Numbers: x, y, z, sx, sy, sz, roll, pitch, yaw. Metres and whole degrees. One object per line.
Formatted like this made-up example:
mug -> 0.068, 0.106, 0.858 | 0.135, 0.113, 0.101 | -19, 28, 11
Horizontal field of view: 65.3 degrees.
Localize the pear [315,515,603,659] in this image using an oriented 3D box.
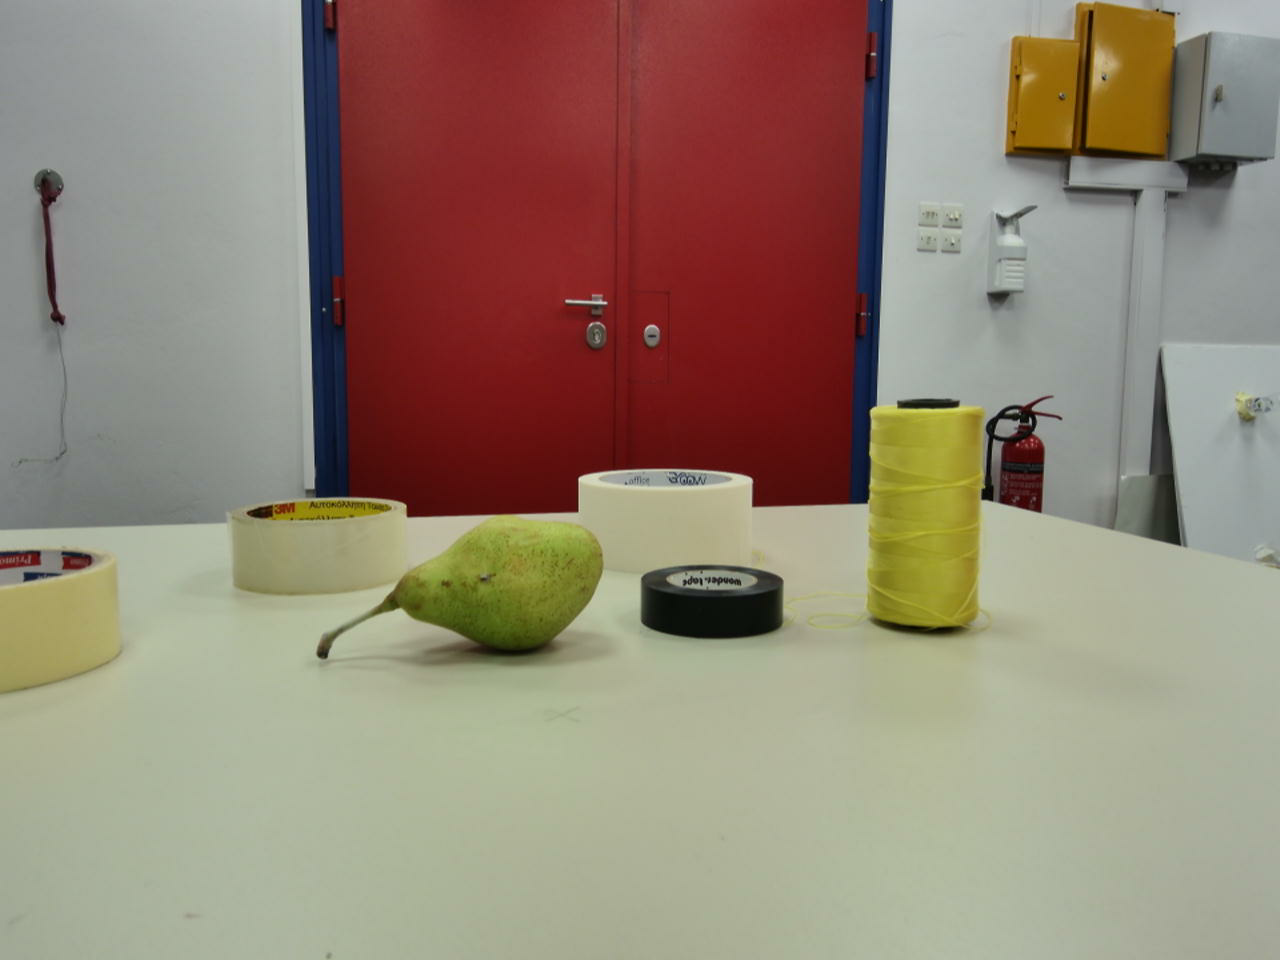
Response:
pear -> -0.071, 0.043, 0.416 | 0.111, 0.056, 0.056 | 0, 4, 2
